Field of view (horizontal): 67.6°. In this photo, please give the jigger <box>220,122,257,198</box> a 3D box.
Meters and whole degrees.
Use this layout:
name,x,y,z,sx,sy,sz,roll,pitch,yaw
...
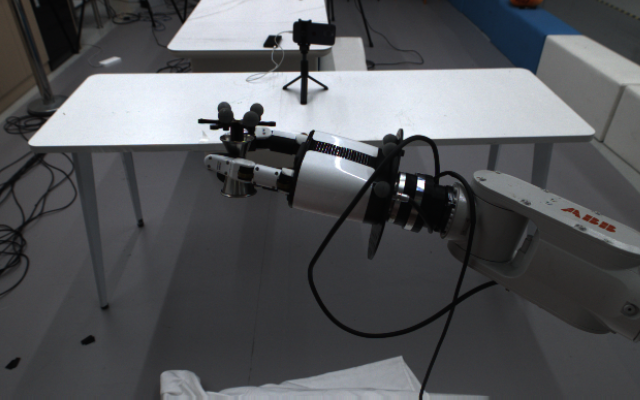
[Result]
name,x,y,z,sx,sy,sz,roll,pitch,yaw
jigger,-0.101,-0.043,0.584,0.043,0.071,0.043,1,20,0
